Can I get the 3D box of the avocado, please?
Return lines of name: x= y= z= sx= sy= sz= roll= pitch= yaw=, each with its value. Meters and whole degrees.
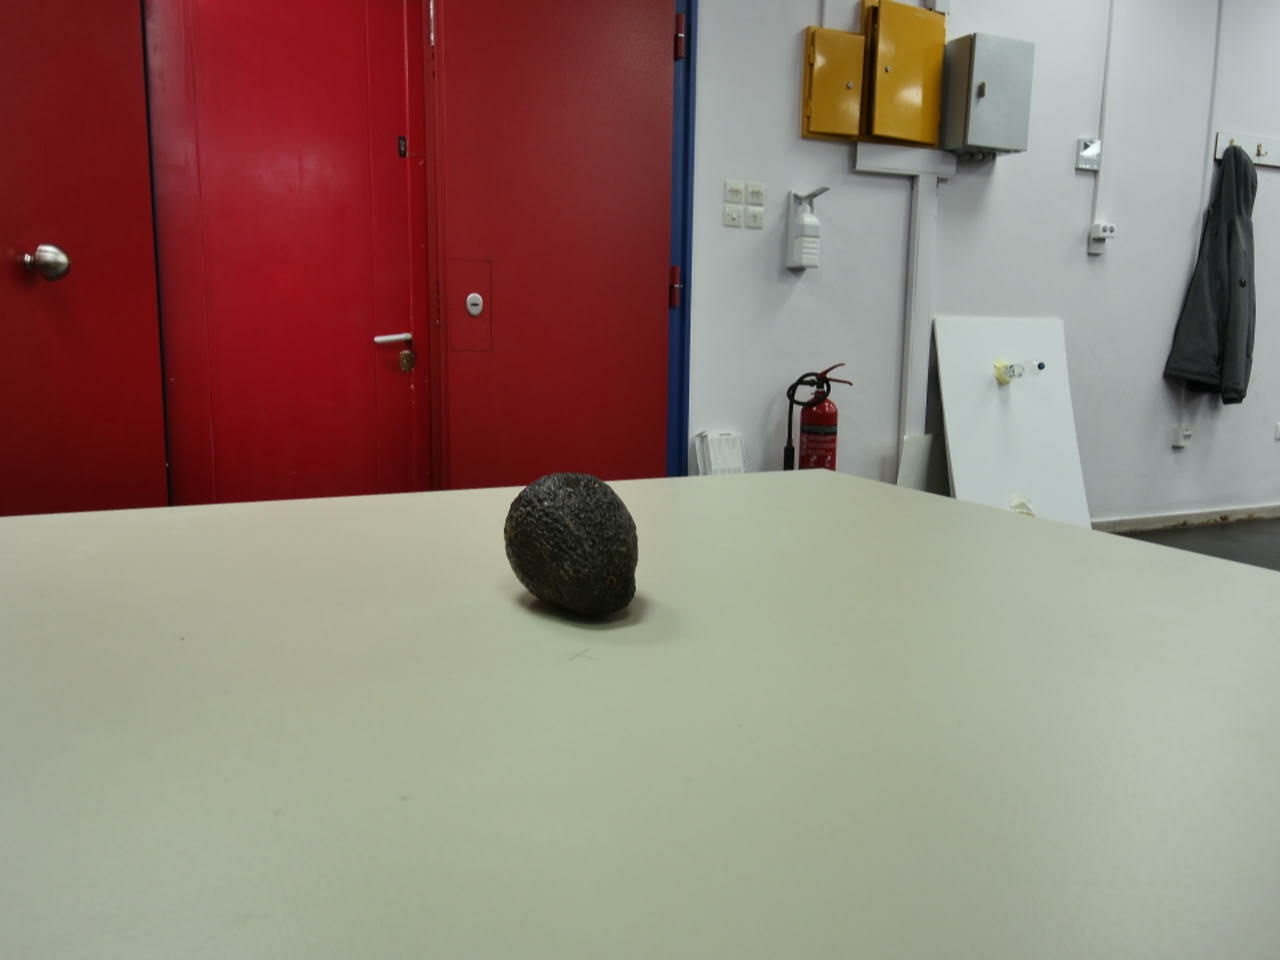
avocado: x=-0.037 y=0.031 z=0.519 sx=0.070 sy=0.069 sz=0.090 roll=0 pitch=6 yaw=0
